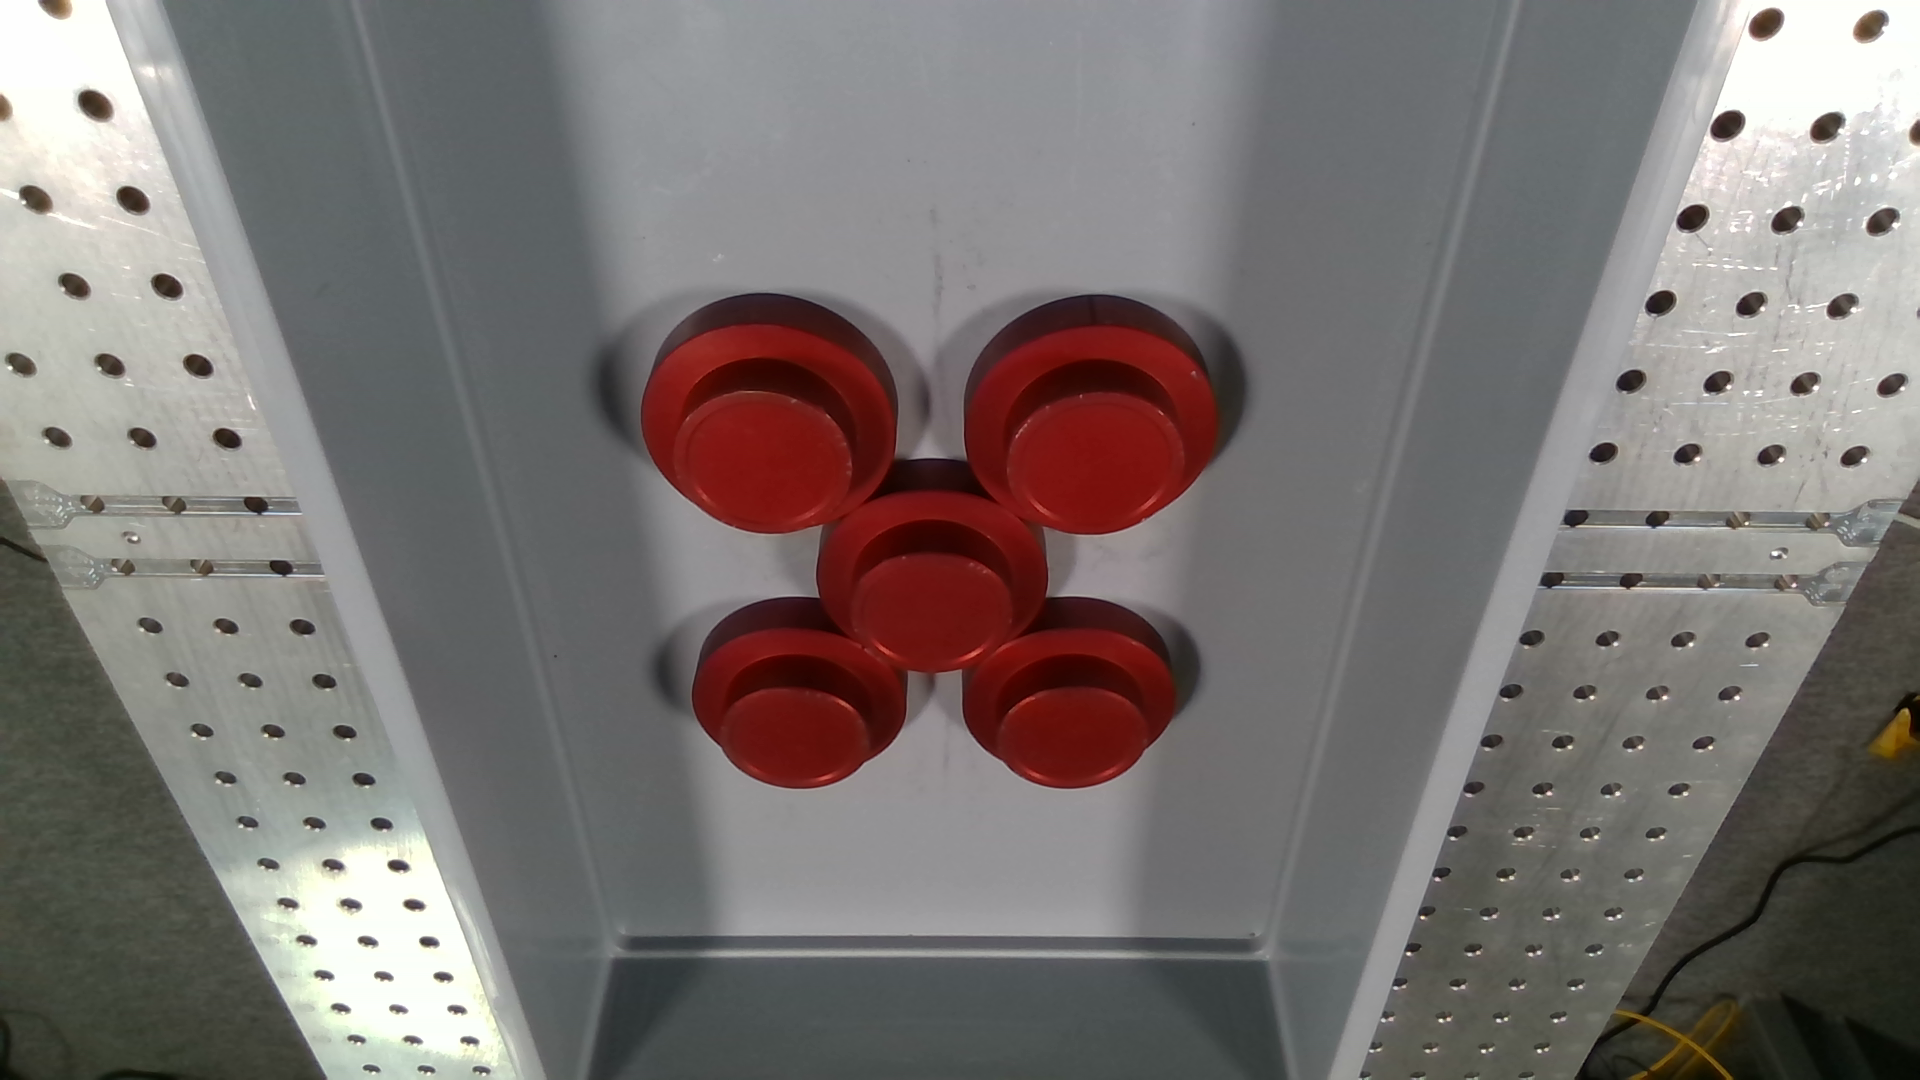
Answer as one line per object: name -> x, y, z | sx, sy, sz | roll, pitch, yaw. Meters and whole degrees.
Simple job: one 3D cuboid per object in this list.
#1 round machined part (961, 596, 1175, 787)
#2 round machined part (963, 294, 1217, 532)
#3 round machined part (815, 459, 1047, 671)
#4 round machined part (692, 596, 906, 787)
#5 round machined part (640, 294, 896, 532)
round machined part -> 0.049, 0.075, 0.630 | 0.098, 0.042, 0.098 | 0, 130, 0
round machined part -> 0.050, -0.042, 0.532 | 0.098, 0.042, 0.098 | 0, 130, 0
round machined part -> -0.012, 0.017, 0.580 | 0.098, 0.042, 0.098 | 0, 130, 0
round machined part -> -0.074, 0.075, 0.630 | 0.098, 0.042, 0.098 | 0, 130, 0
round machined part -> -0.074, -0.042, 0.532 | 0.098, 0.042, 0.098 | 0, 130, 0
